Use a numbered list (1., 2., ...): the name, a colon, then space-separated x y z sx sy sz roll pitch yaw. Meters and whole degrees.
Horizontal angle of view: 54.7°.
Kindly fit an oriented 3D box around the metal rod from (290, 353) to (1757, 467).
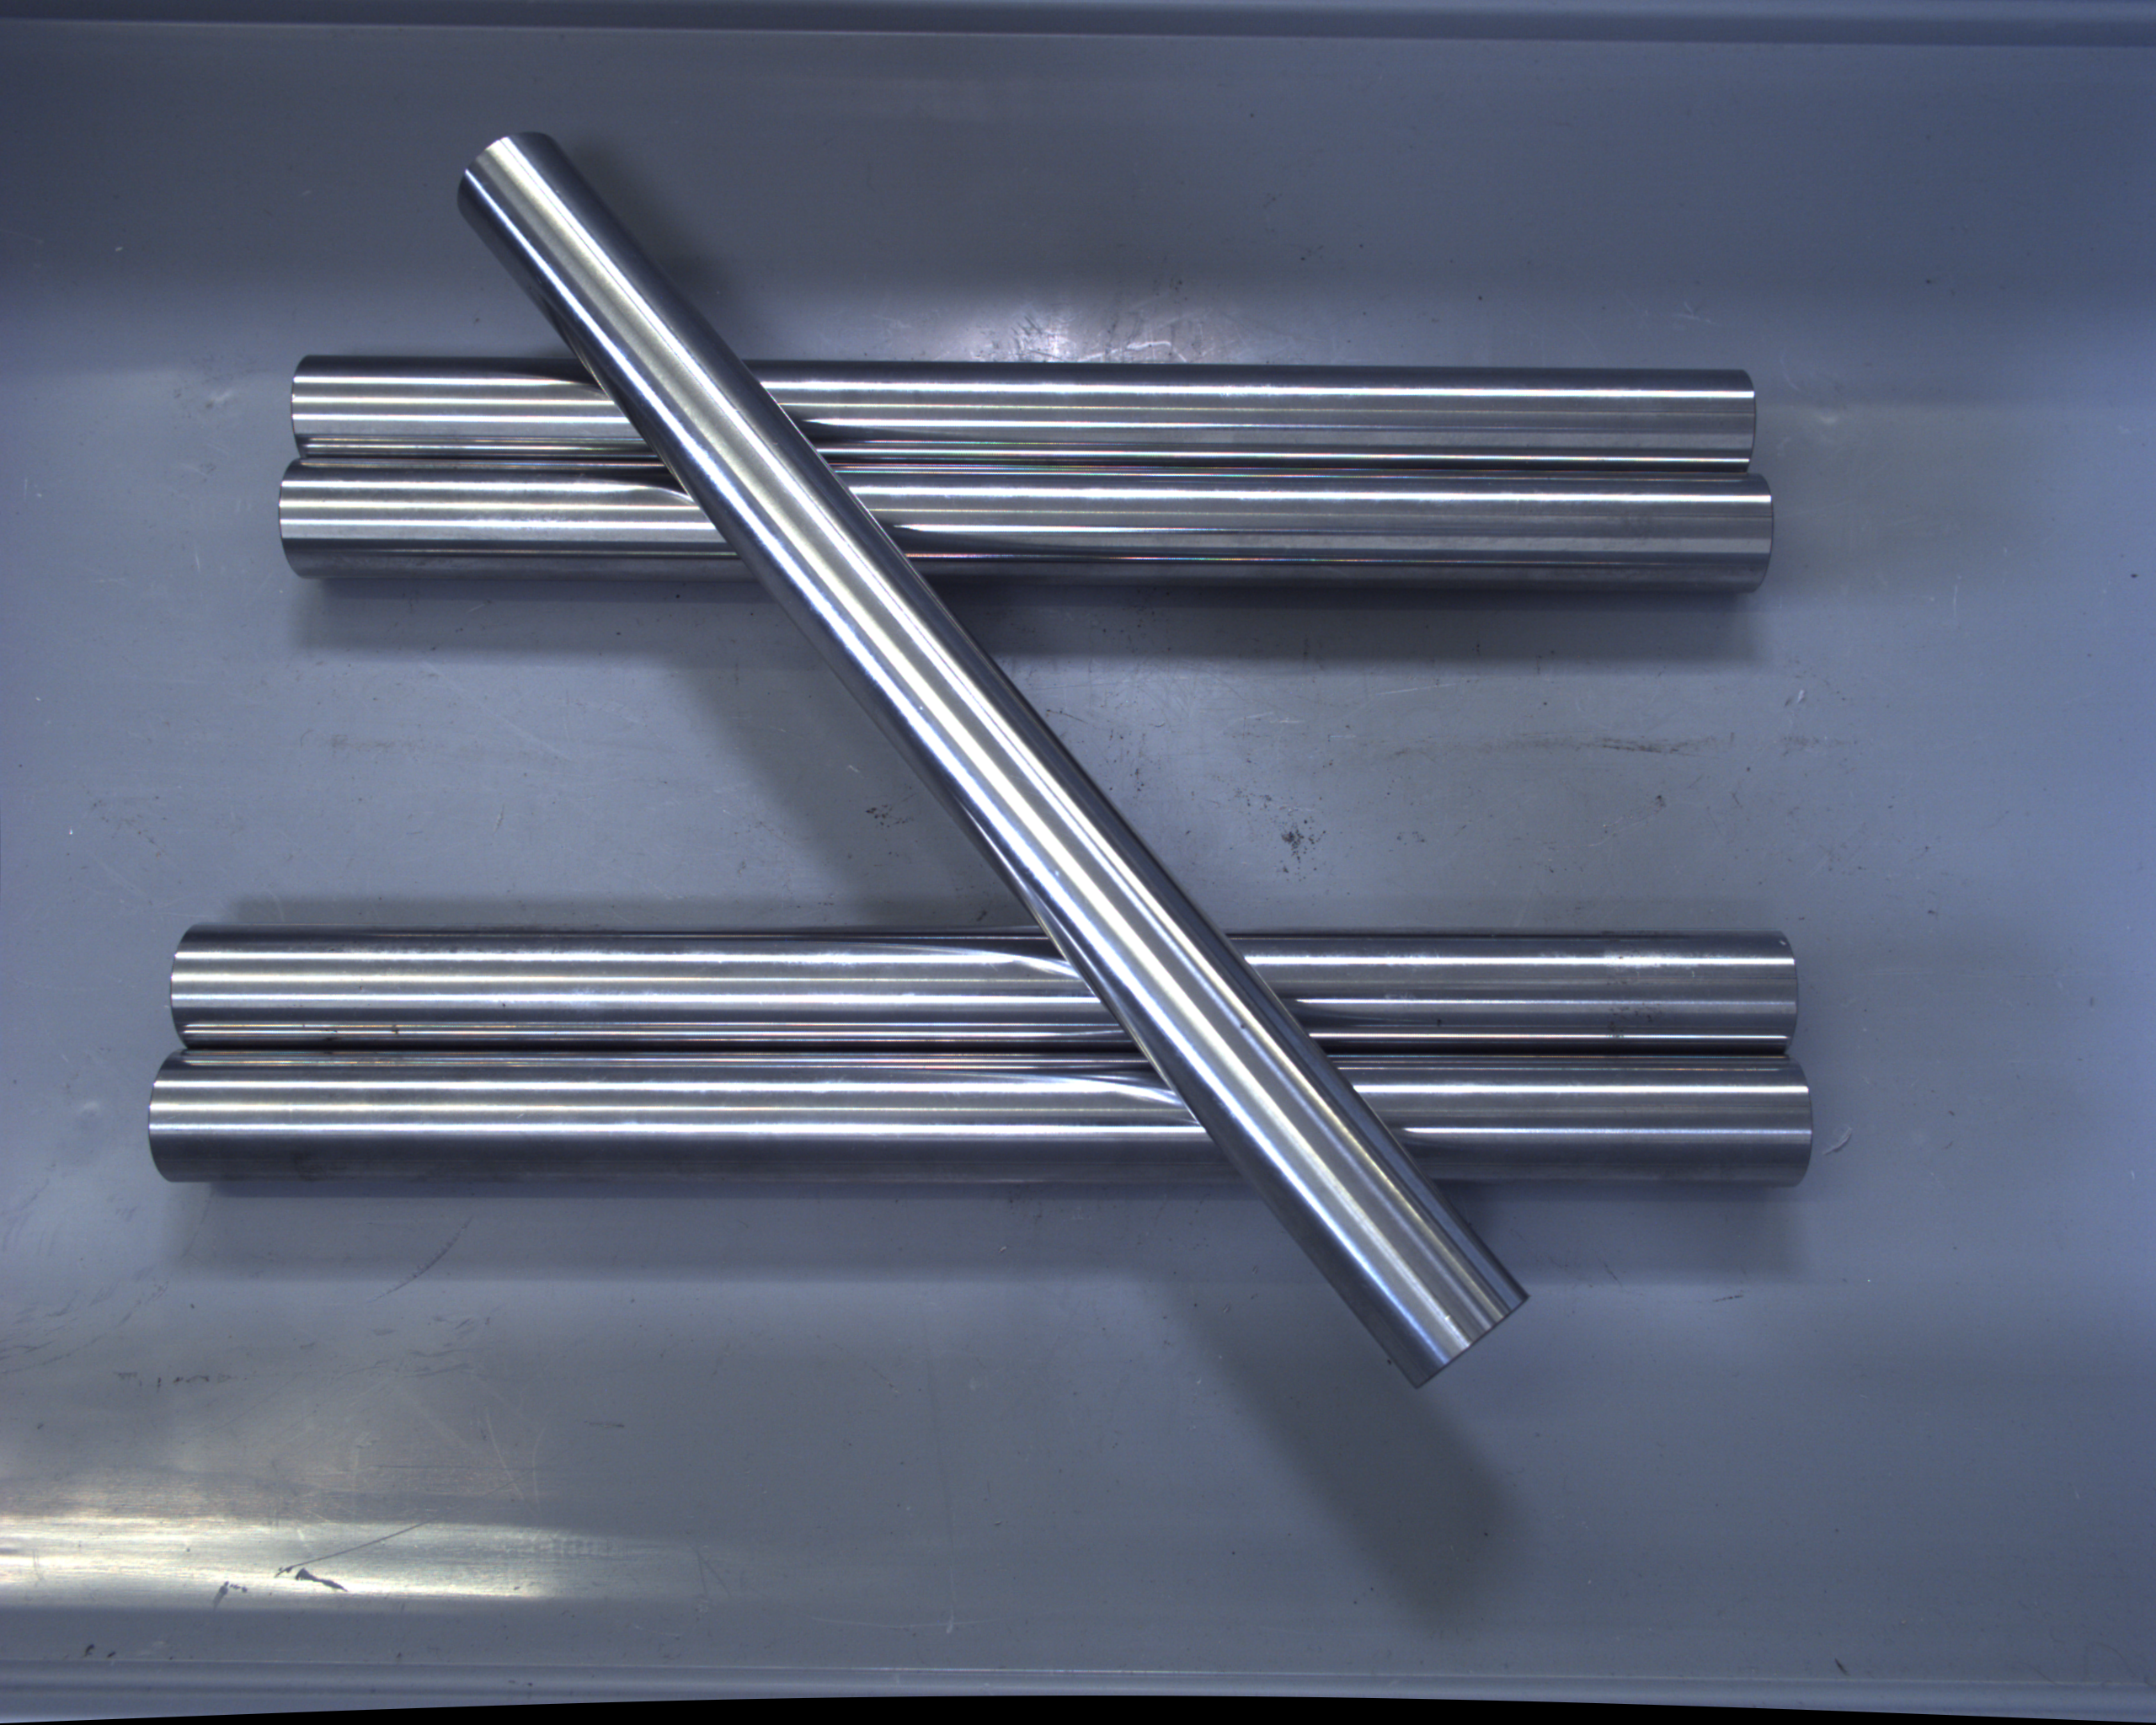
1. metal rod: -0.011 -0.093 0.441 0.302 0.025 0.025 1 70 0

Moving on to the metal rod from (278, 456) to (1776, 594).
1. metal rod: -0.010 -0.070 0.433 0.302 0.025 0.025 1 70 0

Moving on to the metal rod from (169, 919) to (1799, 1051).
1. metal rod: -0.017 0.024 0.399 0.302 0.025 0.025 0 70 0

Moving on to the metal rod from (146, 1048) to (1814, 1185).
1. metal rod: -0.017 0.047 0.390 0.302 0.025 0.025 0 70 0

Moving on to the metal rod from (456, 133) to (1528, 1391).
1. metal rod: -0.026 -0.030 0.393 0.025 0.025 0.300 -36 74 -12
